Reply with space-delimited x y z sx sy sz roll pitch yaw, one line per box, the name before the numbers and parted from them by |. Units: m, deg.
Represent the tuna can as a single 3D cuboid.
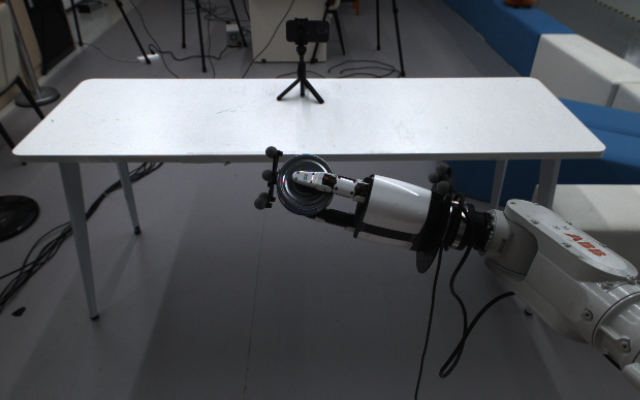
tuna can | -0.019 -0.023 0.700 0.085 0.034 0.085 1 73 -5
